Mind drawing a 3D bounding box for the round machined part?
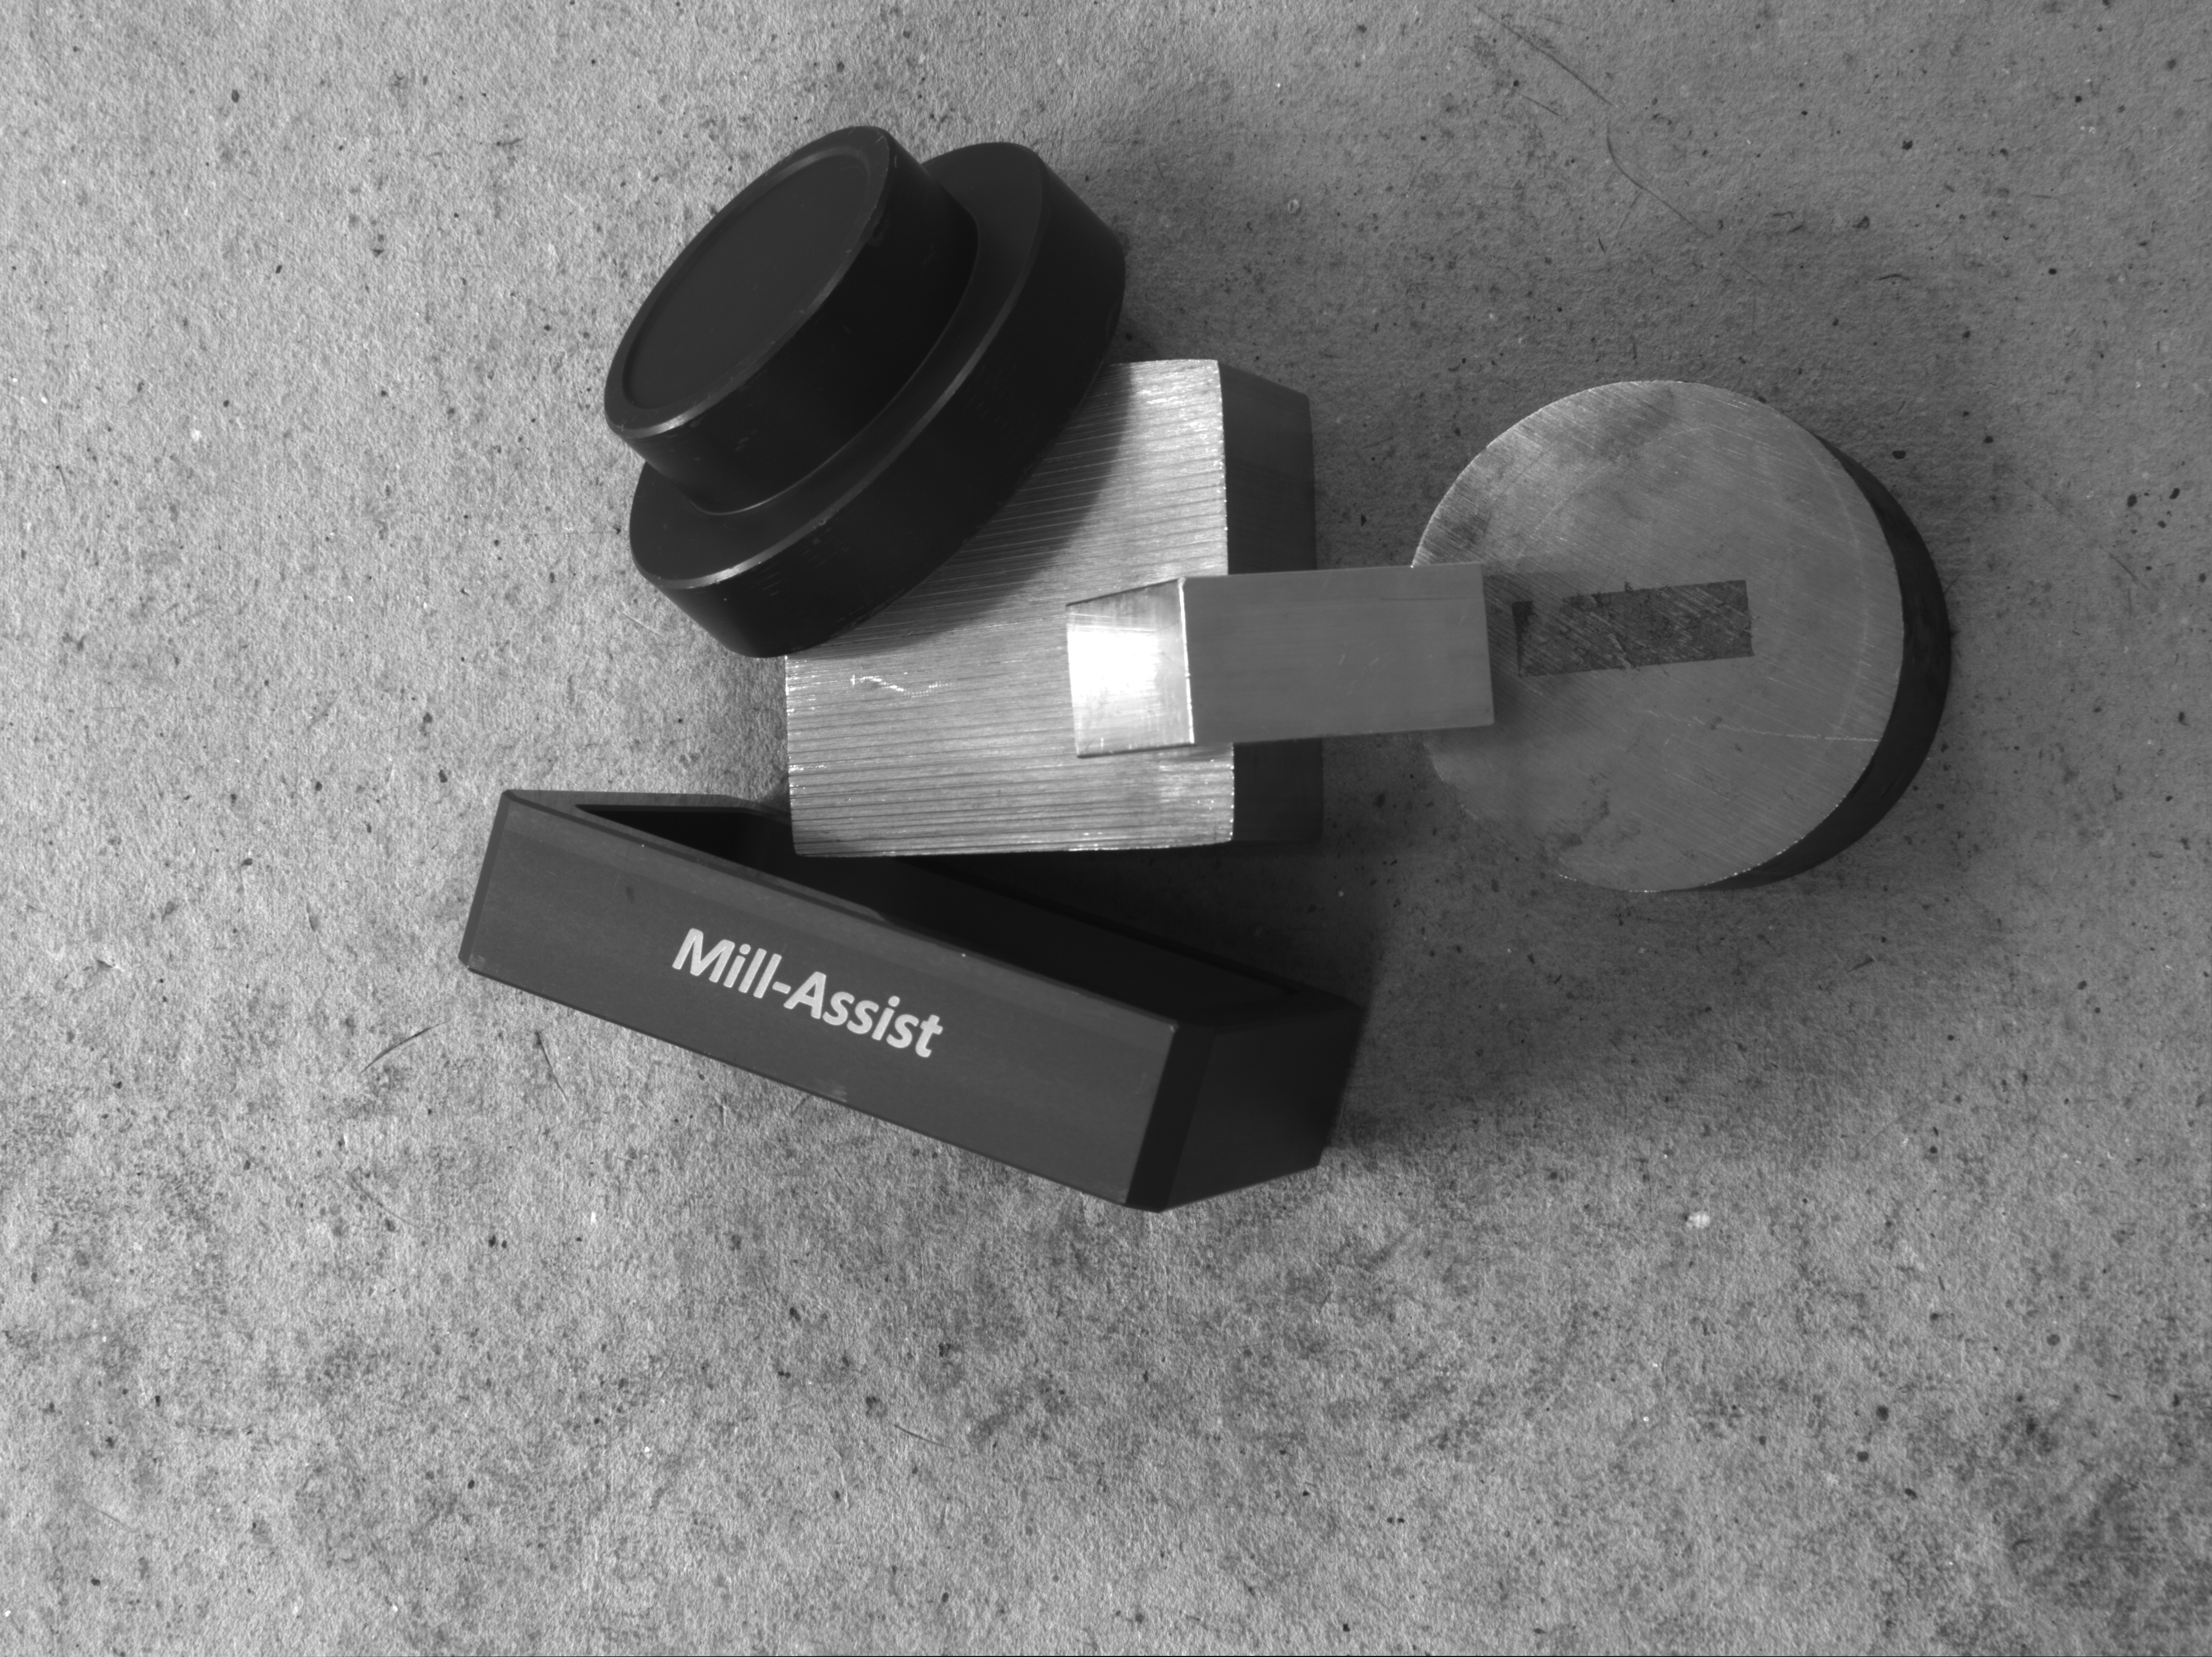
[{"bbox_3d":[-0.047,-0.080,0.625,0.098,0.098,0.042,-38,122,16],"label":"round machined part"}]

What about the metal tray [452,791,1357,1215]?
[{"bbox_3d":[-0.032,0.027,0.623,0.130,0.090,0.030,18,96,19],"label":"metal tray"}]

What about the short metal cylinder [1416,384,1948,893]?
[{"bbox_3d":[0.094,-0.030,0.600,0.080,0.050,0.080,0,90,20],"label":"short metal cylinder"}]

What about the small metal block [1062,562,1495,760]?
[{"bbox_3d":[0.026,-0.026,0.576,0.050,0.050,0.025,-5,91,-21],"label":"small metal block"}]

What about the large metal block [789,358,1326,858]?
[{"bbox_3d":[-0.008,-0.036,0.638,0.080,0.050,0.080,-2,89,20],"label":"large metal block"}]
